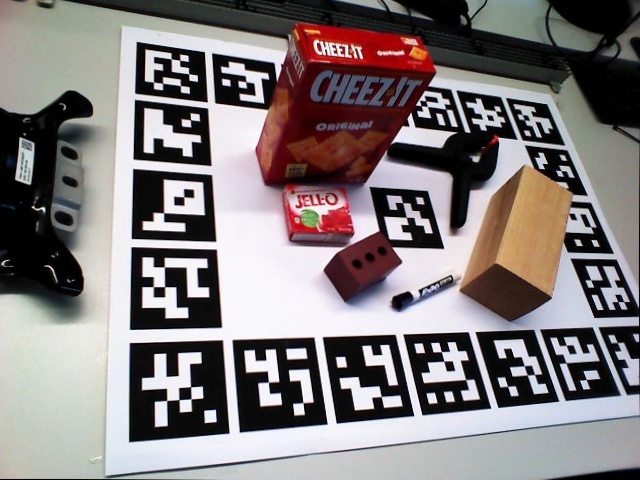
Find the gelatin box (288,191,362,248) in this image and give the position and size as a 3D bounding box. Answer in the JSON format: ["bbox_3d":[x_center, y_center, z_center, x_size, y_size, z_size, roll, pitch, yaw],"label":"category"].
[{"bbox_3d":[0.006,-0.028,0.692,0.089,0.030,0.073,0,65,-20],"label":"gelatin box"}]

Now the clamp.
[{"bbox_3d":[0.232,-0.118,0.816,0.201,0.037,0.165,-31,78,-30],"label":"clamp"}]

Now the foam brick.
[{"bbox_3d":[0.060,0.040,0.659,0.077,0.052,0.052,-24,75,-29],"label":"foam brick"}]

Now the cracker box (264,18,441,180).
[{"bbox_3d":[0.037,-0.161,0.656,0.164,0.215,0.071,-2,63,-23],"label":"cracker box"}]

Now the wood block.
[{"bbox_3d":[0.297,0.006,0.746,0.090,0.091,0.204,31,54,0],"label":"wood block"}]

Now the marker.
[{"bbox_3d":[0.144,0.075,0.689,0.120,0.020,0.019,-19,73,-27],"label":"marker"}]
